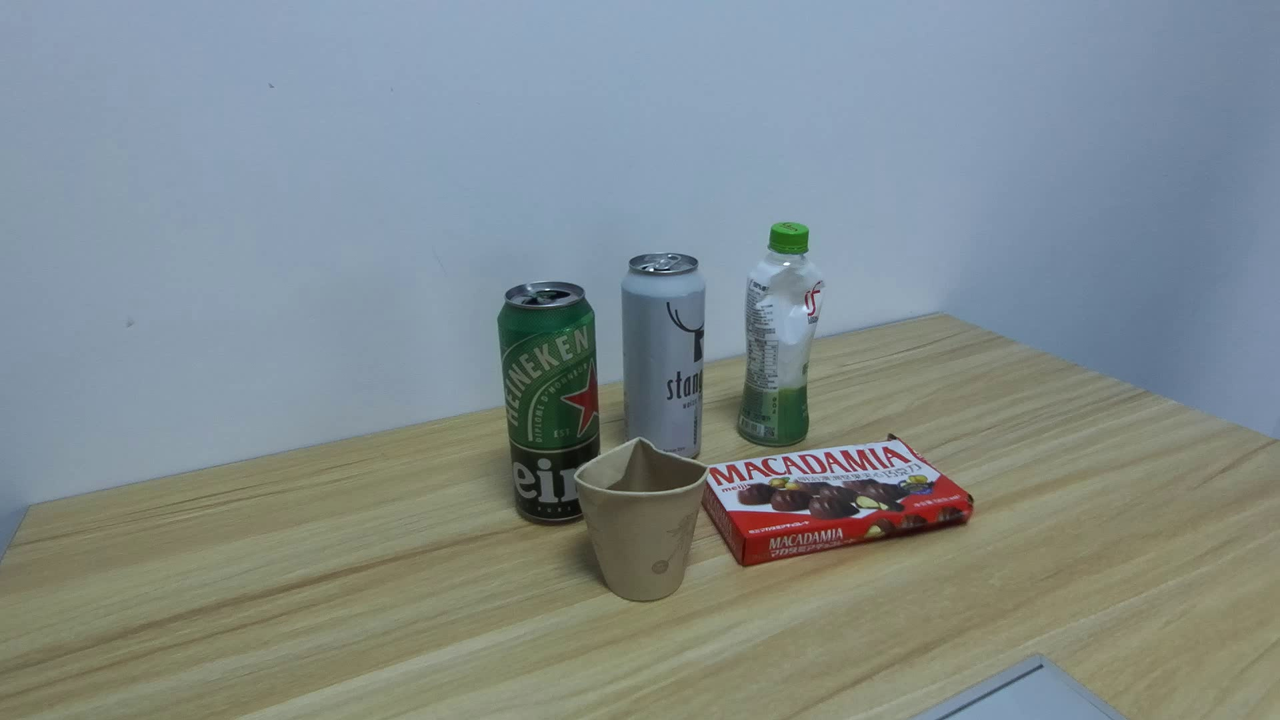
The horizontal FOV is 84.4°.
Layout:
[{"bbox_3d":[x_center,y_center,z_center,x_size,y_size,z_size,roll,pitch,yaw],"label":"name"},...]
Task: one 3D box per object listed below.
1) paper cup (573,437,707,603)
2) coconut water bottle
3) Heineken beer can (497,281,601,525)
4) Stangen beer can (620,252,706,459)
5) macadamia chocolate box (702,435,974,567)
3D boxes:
[{"bbox_3d":[0.001,0.104,0.446,0.071,0.084,0.066,17,29,37],"label":"paper cup"},{"bbox_3d":[0.119,-0.022,0.598,0.069,0.187,0.069,2,22,0],"label":"coconut water bottle"},{"bbox_3d":[-0.063,0.033,0.512,0.067,0.169,0.067,-1,23,1],"label":"Heineken beer can"},{"bbox_3d":[0.020,0.001,0.577,0.067,0.171,0.067,0,23,0],"label":"Stangen beer can"},{"bbox_3d":[0.143,0.100,0.526,0.183,0.028,0.105,-7,24,-15],"label":"macadamia chocolate box"}]
